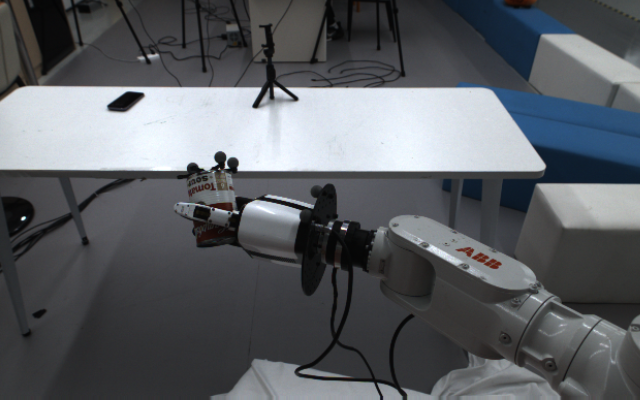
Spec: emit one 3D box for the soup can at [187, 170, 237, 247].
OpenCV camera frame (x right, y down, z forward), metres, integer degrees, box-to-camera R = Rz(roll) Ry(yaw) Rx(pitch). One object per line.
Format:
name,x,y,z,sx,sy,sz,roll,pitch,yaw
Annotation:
soup can,-0.155,0.015,0.711,0.067,0.067,0.101,-10,79,-17
